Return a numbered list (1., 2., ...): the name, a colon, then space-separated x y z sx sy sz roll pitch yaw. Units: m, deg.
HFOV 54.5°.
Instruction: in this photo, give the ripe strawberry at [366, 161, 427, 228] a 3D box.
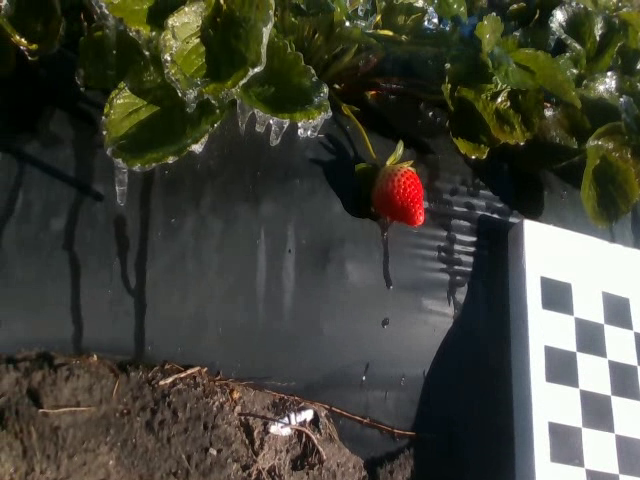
1. ripe strawberry: 0.055 -0.027 0.403 0.039 0.053 0.041 -8 -37 -20
